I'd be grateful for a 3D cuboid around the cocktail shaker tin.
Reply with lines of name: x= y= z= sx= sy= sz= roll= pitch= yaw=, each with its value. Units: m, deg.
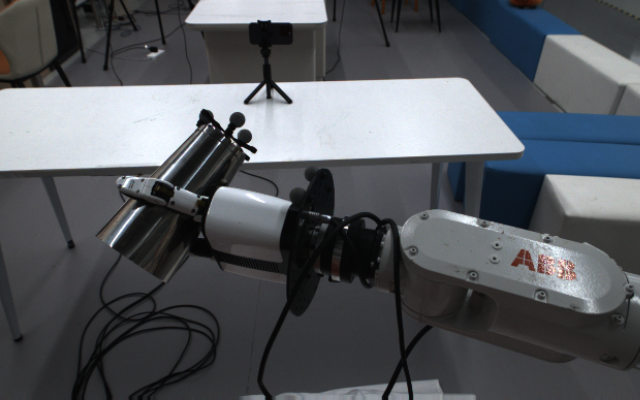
cocktail shaker tin: x=-0.161 y=-0.005 z=0.553 sx=0.093 sy=0.093 sz=0.170 roll=24 pitch=69 yaw=28
